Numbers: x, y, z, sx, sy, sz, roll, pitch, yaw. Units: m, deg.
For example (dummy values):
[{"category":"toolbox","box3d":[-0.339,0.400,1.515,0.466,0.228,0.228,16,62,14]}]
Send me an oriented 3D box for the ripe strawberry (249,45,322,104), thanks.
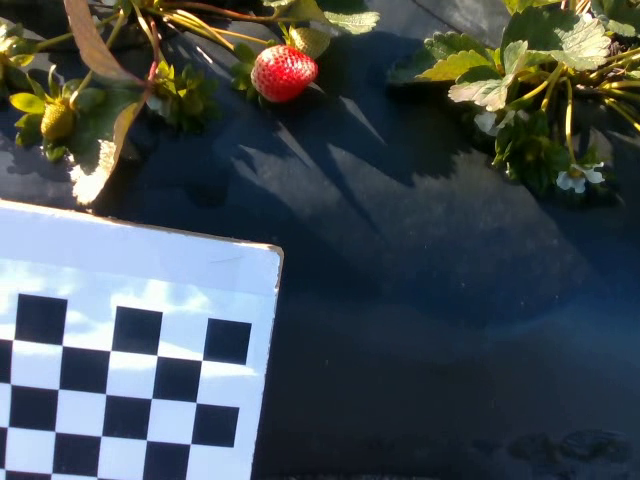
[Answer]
[{"category":"ripe strawberry","box3d":[-0.015,-0.085,0.325,0.042,0.037,0.045,-15,12,-38]}]
